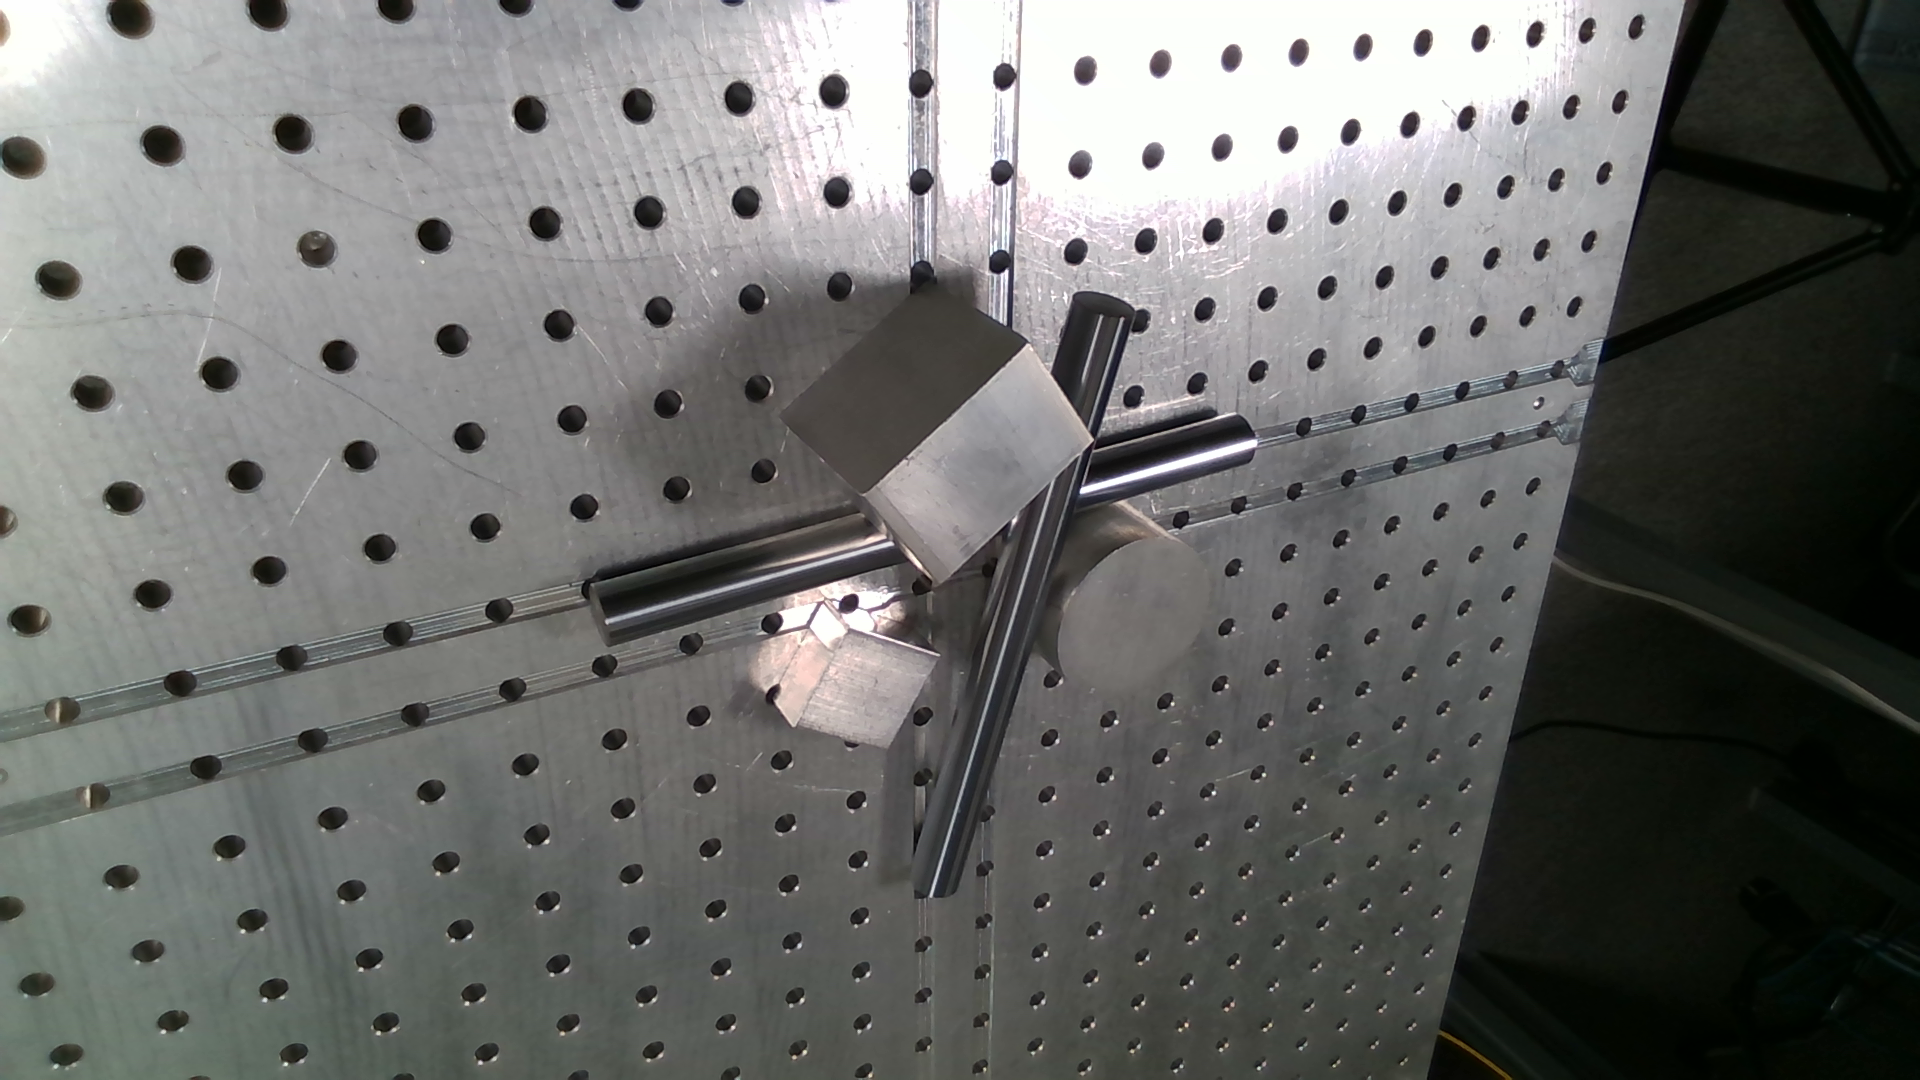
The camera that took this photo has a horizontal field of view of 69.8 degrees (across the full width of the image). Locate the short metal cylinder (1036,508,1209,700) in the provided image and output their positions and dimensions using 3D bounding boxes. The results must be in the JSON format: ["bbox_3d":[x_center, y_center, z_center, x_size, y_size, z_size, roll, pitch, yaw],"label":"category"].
[{"bbox_3d":[0.065,0.025,0.620,0.080,0.050,0.080,-14,122,-25],"label":"short metal cylinder"}]

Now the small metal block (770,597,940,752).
[{"bbox_3d":[-0.045,0.058,0.589,0.050,0.025,0.050,22,102,-38],"label":"small metal block"}]

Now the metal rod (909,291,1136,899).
[{"bbox_3d":[0.021,0.038,0.592,0.025,0.025,0.301,-4,124,-30],"label":"metal rod"}]

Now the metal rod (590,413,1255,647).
[{"bbox_3d":[-0.003,-0.009,0.577,0.300,0.025,0.025,-16,122,-24],"label":"metal rod"}]

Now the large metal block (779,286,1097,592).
[{"bbox_3d":[-0.010,-0.040,0.519,0.080,0.080,0.050,-44,129,-4],"label":"large metal block"}]
